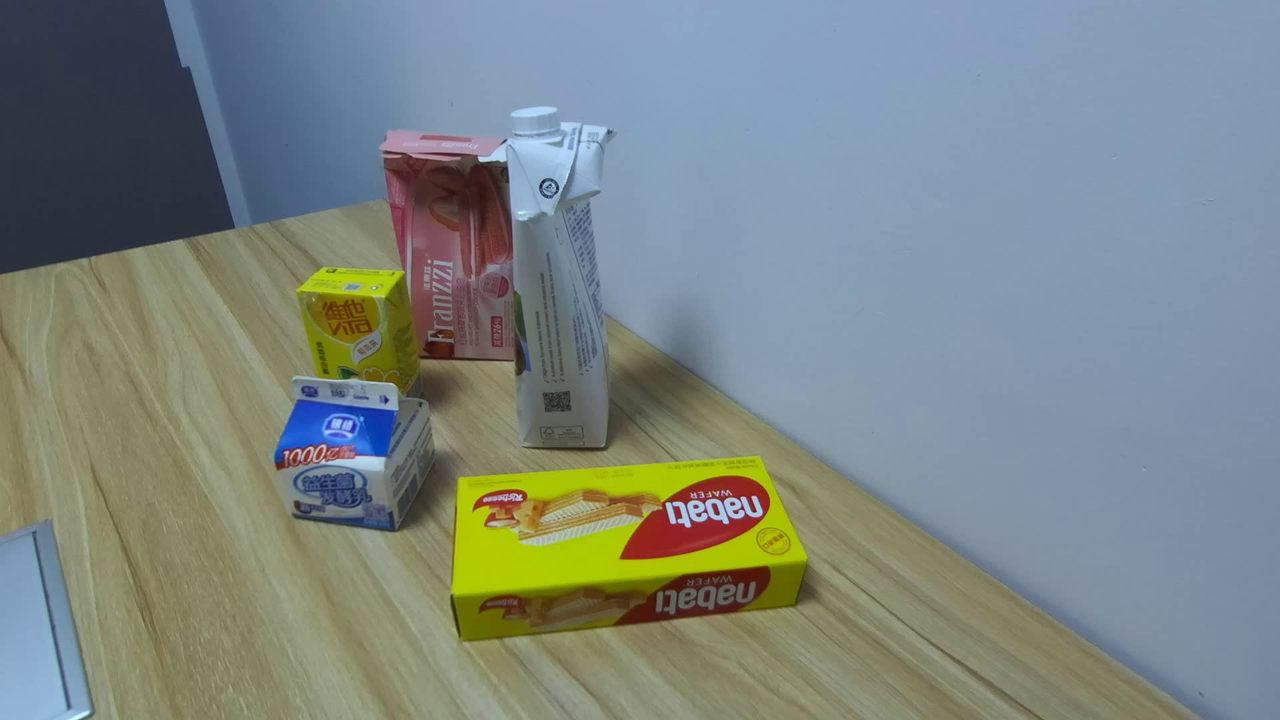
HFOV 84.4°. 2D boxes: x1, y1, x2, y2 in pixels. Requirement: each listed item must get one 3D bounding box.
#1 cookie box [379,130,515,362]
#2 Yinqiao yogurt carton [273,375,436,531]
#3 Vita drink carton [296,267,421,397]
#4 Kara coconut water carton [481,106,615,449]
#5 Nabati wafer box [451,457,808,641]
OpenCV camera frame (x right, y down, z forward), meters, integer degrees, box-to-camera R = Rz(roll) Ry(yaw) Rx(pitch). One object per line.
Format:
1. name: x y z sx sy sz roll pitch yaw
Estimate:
1. cookie box: -0.150 -0.088 0.587 0.118 0.184 0.055 3 33 0
2. Yinqiao yogurt carton: -0.184 0.049 0.457 0.075 0.092 0.073 6 34 4
3. Vita drink carton: -0.212 -0.012 0.532 0.076 0.109 0.043 5 33 1
4. Kara coconut water carton: -0.053 -0.051 0.489 0.069 0.239 0.115 1 33 0
5. Nabati wafer box: -0.009 0.110 0.432 0.203 0.042 0.092 -3 34 -8
